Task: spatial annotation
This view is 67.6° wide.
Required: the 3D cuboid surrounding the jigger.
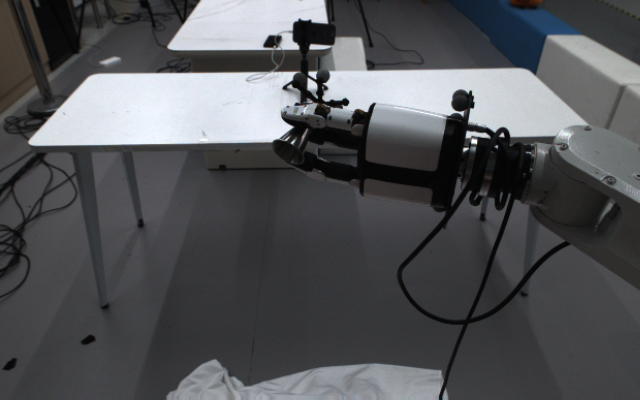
[{"bbox_3d":[-0.024,-0.086,0.589,0.043,0.043,0.071,19,61,23],"label":"jigger"}]
